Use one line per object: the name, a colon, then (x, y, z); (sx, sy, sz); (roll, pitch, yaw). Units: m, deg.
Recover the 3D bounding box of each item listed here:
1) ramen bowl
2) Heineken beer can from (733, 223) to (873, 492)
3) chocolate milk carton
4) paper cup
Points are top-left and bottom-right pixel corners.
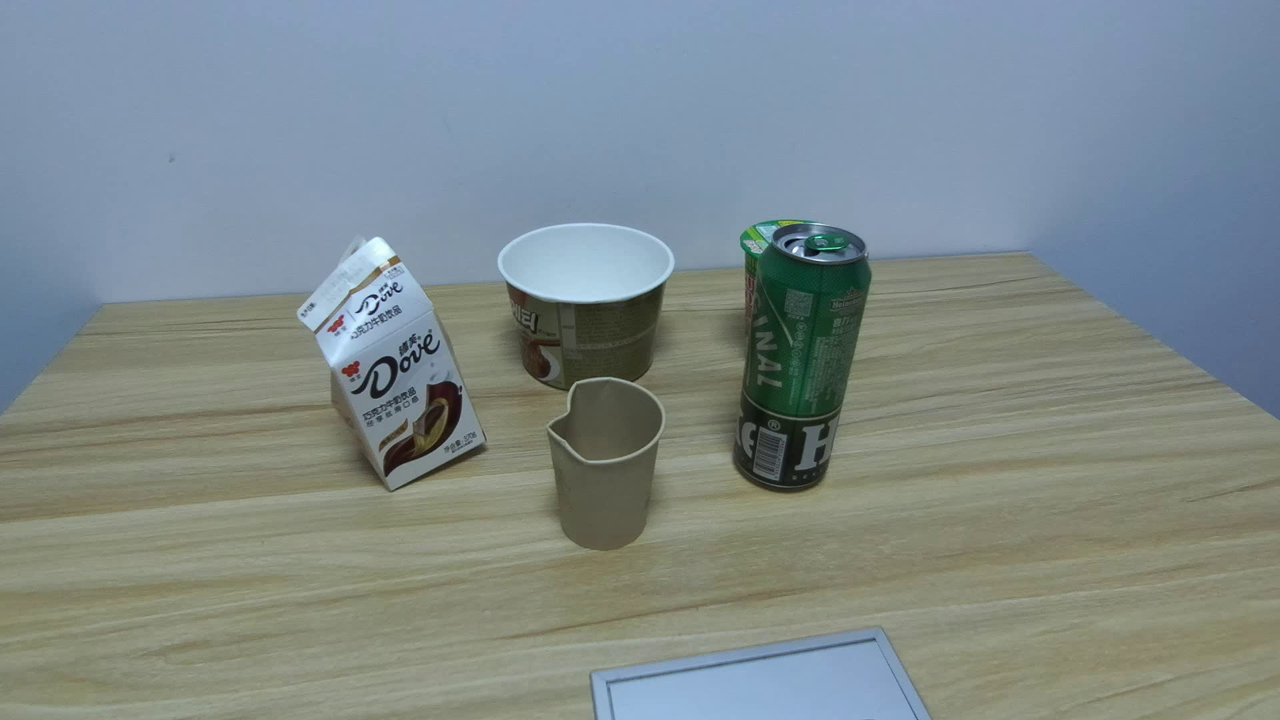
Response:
ramen bowl: (-0.043, -0.042, 0.584); (0.140, 0.095, 0.140); (3, 33, -1)
Heineken beer can: (0.101, 0.002, 0.452); (0.067, 0.169, 0.067); (1, 33, -1)
chocolate milk carton: (-0.165, 0.003, 0.467); (0.089, 0.156, 0.076); (-34, 42, -24)
paper cup: (-0.021, 0.066, 0.430); (0.069, 0.081, 0.073); (-24, 42, -35)
